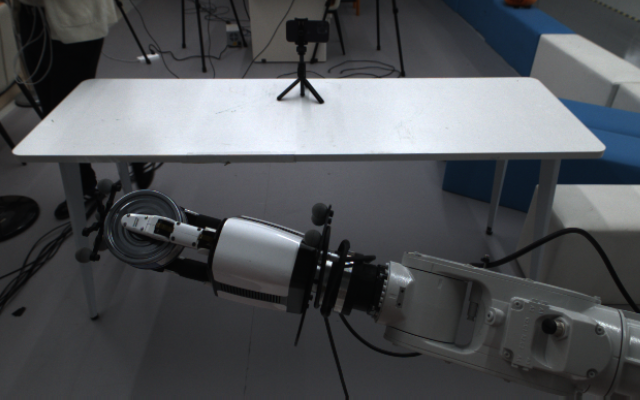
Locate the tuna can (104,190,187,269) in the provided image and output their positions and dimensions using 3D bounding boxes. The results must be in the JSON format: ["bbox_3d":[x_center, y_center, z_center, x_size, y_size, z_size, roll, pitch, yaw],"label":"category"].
[{"bbox_3d":[-0.189,0.032,0.537,0.085,0.034,0.085,1,74,-4],"label":"tuna can"}]
